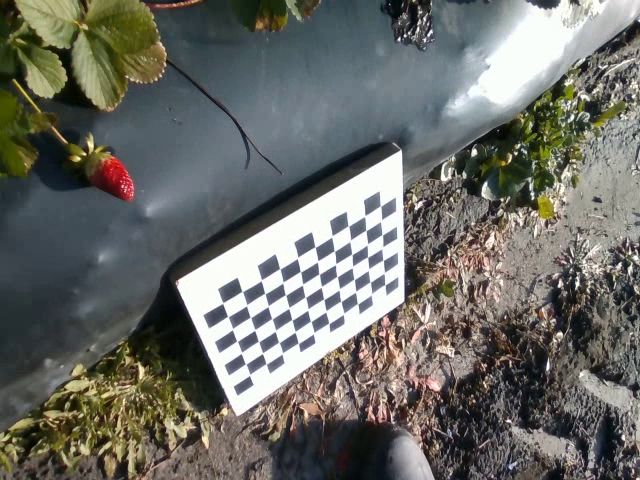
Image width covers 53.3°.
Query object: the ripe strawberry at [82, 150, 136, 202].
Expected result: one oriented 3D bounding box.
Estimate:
[{"bbox_3d":[-0.137,-0.043,0.432,0.041,0.028,0.031,43,0,4],"label":"ripe strawberry"}]
